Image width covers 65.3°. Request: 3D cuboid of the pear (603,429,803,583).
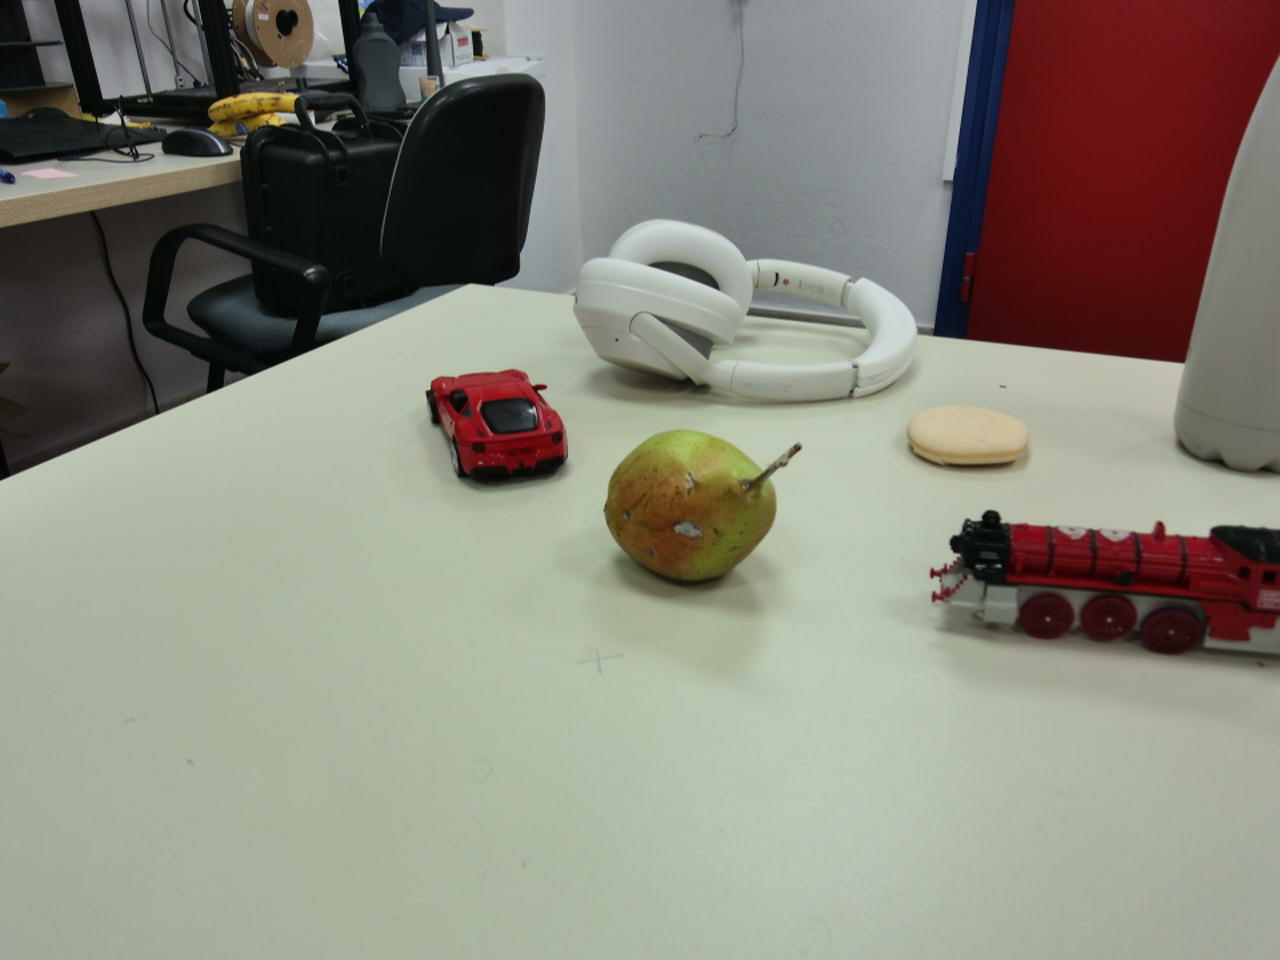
[{"bbox_3d":[0.021,0.008,0.418,0.068,0.069,0.070,-5,24,-12],"label":"pear"}]
